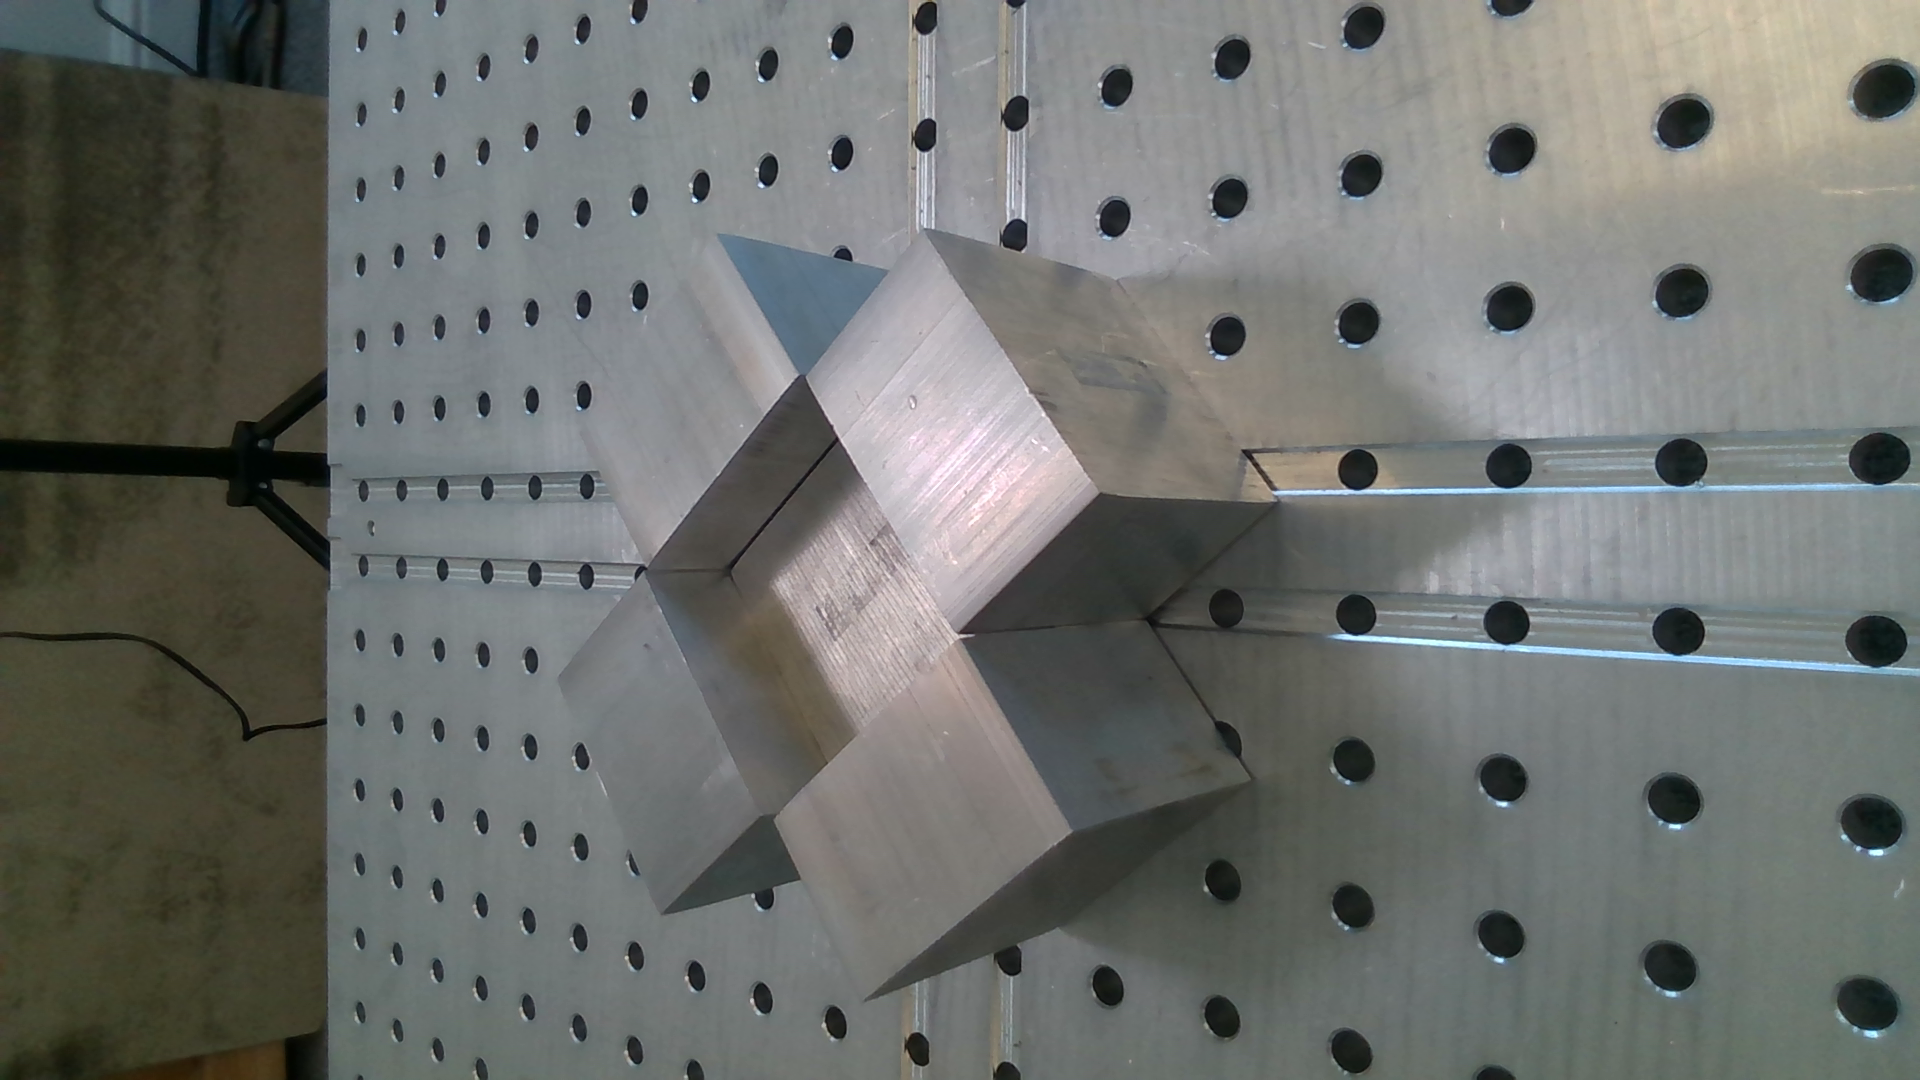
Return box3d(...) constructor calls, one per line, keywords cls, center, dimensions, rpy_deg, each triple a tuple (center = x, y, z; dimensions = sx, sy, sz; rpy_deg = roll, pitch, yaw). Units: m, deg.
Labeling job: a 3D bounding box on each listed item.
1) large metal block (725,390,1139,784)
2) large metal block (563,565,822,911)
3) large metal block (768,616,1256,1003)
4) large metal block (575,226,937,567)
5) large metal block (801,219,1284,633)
box3d(cls="large metal block", center=(-0.010, 0.015, 0.384), dimensions=(0.080, 0.050, 0.080), rpy_deg=(-45, 61, 29))
box3d(cls="large metal block", center=(-0.058, 0.054, 0.408), dimensions=(0.050, 0.080, 0.080), rpy_deg=(-45, 63, 31))
box3d(cls="large metal block", center=(0.013, 0.065, 0.347), dimensions=(0.080, 0.080, 0.050), rpy_deg=(-47, 63, 31))
box3d(cls="large metal block", center=(-0.050, -0.037, 0.399), dimensions=(0.080, 0.080, 0.050), rpy_deg=(-47, 62, 31))
box3d(cls="large metal block", center=(0.021, -0.026, 0.340), dimensions=(0.050, 0.080, 0.080), rpy_deg=(-46, 62, 30))
